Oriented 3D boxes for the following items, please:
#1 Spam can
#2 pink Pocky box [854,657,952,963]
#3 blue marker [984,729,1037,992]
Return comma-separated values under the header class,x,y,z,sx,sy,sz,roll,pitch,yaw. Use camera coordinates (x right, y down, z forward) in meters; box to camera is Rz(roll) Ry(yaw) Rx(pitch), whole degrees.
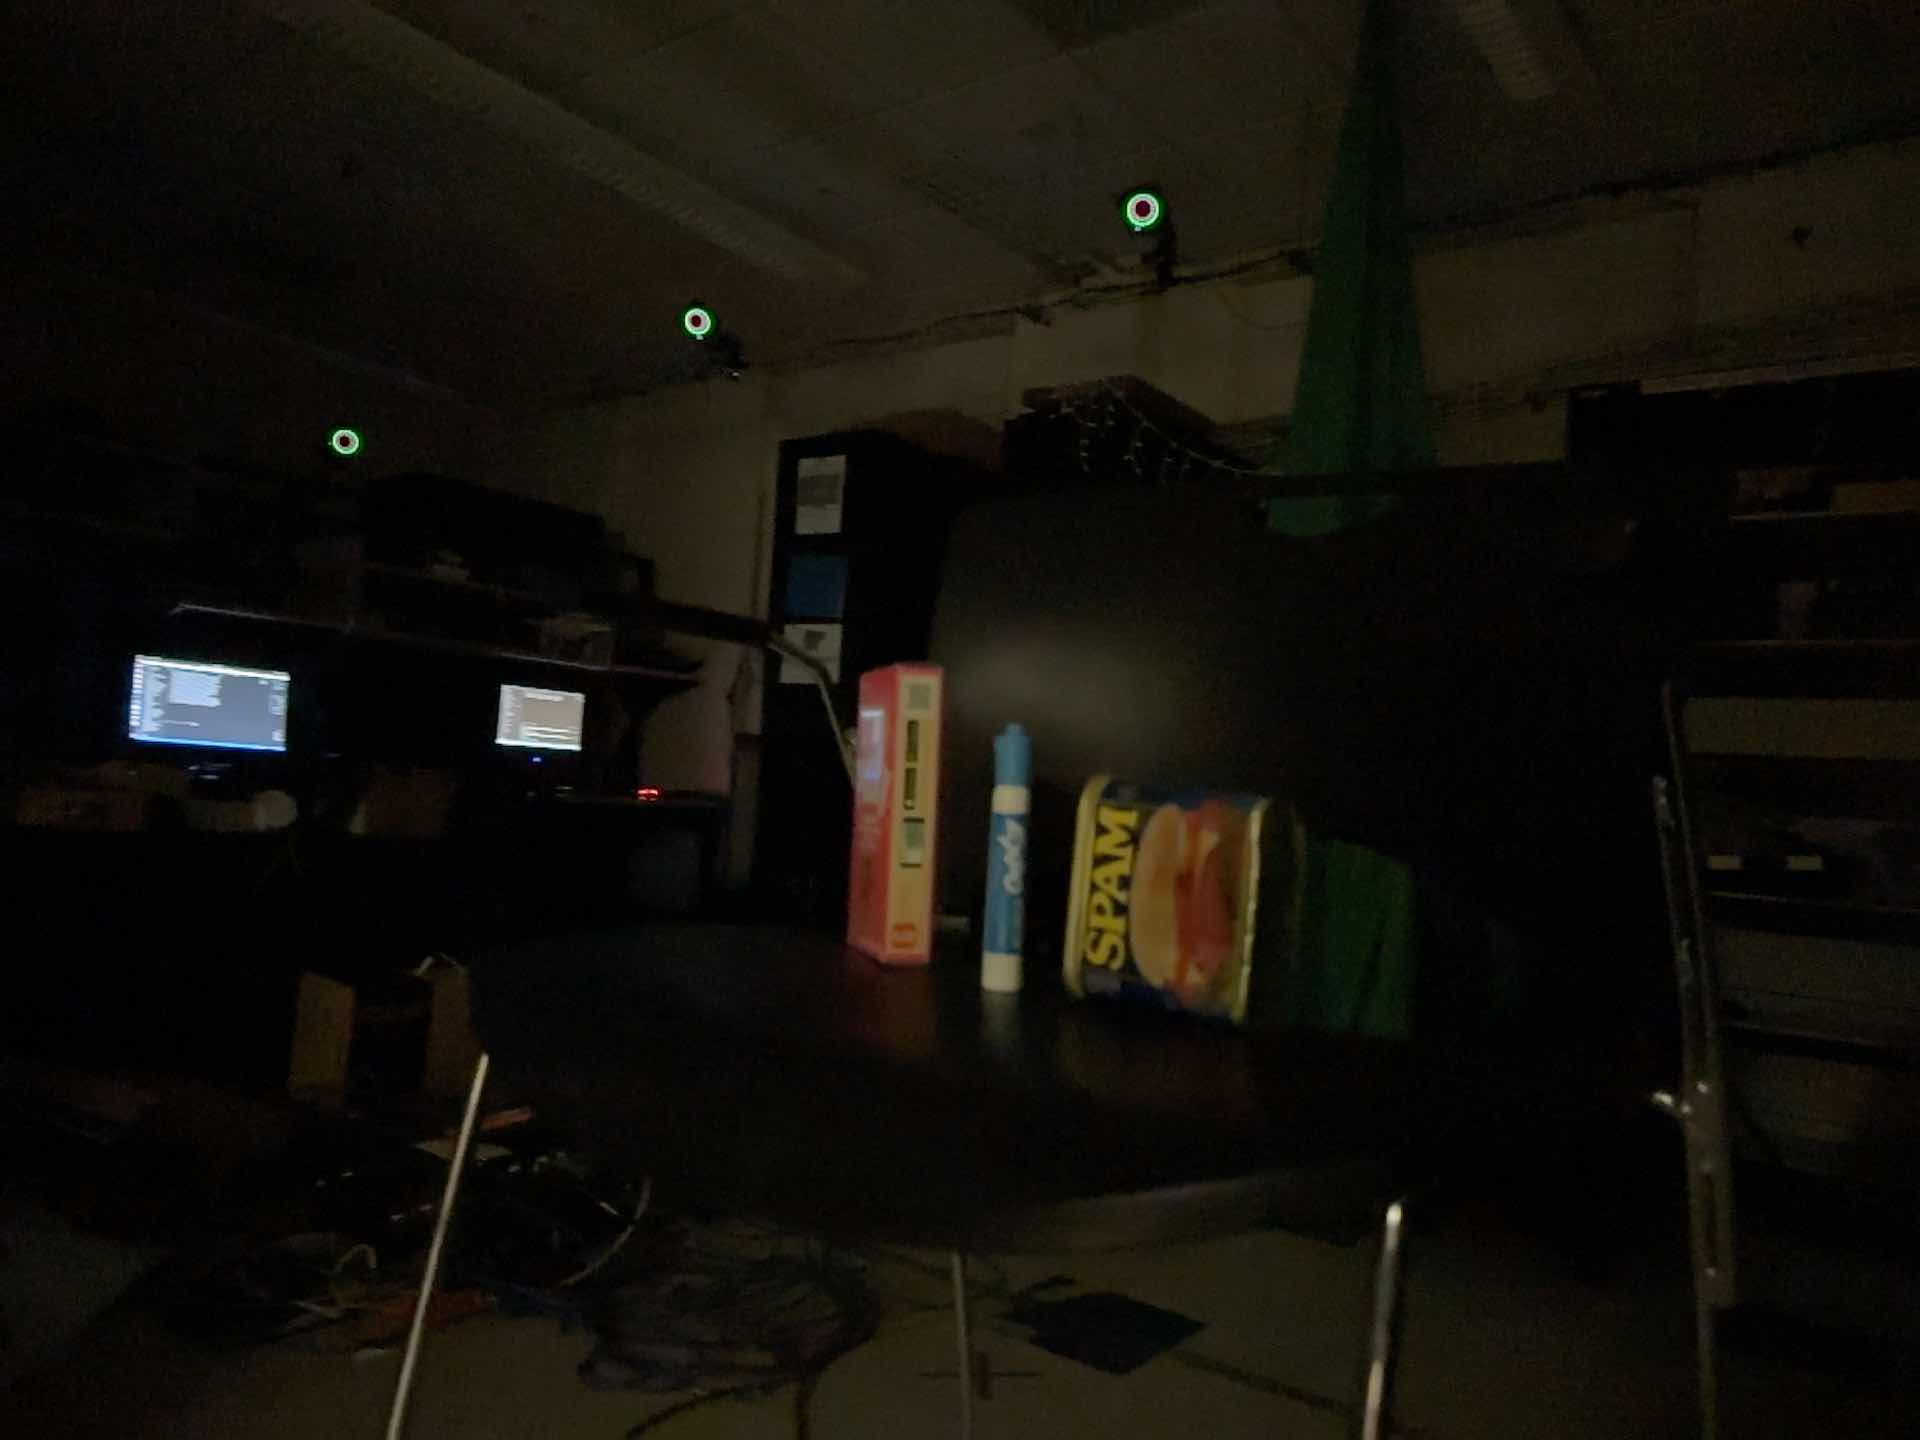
class,x,y,z,sx,sy,sz,roll,pitch,yaw
Spam can,0.100,0.075,0.587,0.083,0.100,0.056,5,-1,31
pink Pocky box,-0.032,0.046,0.716,0.029,0.155,0.084,3,-2,-17
blue marker,0.023,0.064,0.627,0.020,0.121,0.020,3,0,0
